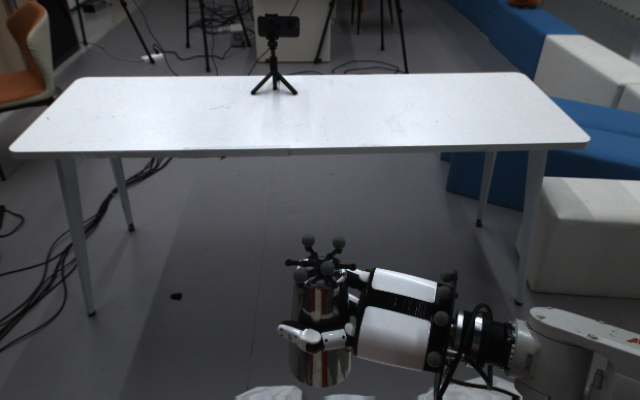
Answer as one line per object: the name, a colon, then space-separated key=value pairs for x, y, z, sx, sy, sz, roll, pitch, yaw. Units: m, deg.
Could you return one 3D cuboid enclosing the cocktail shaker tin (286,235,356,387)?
cocktail shaker tin: x=0.002 y=0.158 z=0.652 sx=0.093 sy=0.170 sz=0.093 roll=0 pitch=33 yaw=0
